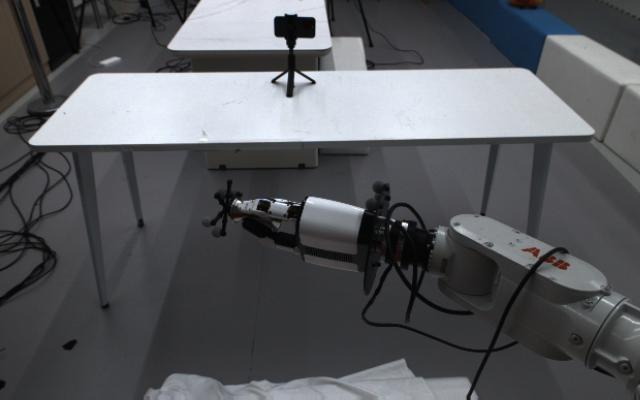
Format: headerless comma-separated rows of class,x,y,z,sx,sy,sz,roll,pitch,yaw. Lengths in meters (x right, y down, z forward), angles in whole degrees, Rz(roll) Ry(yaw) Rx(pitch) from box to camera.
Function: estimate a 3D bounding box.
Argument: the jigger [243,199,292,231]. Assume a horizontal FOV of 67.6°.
jigger,-0.090,0.017,0.726,0.071,0.043,0.043,10,35,16
